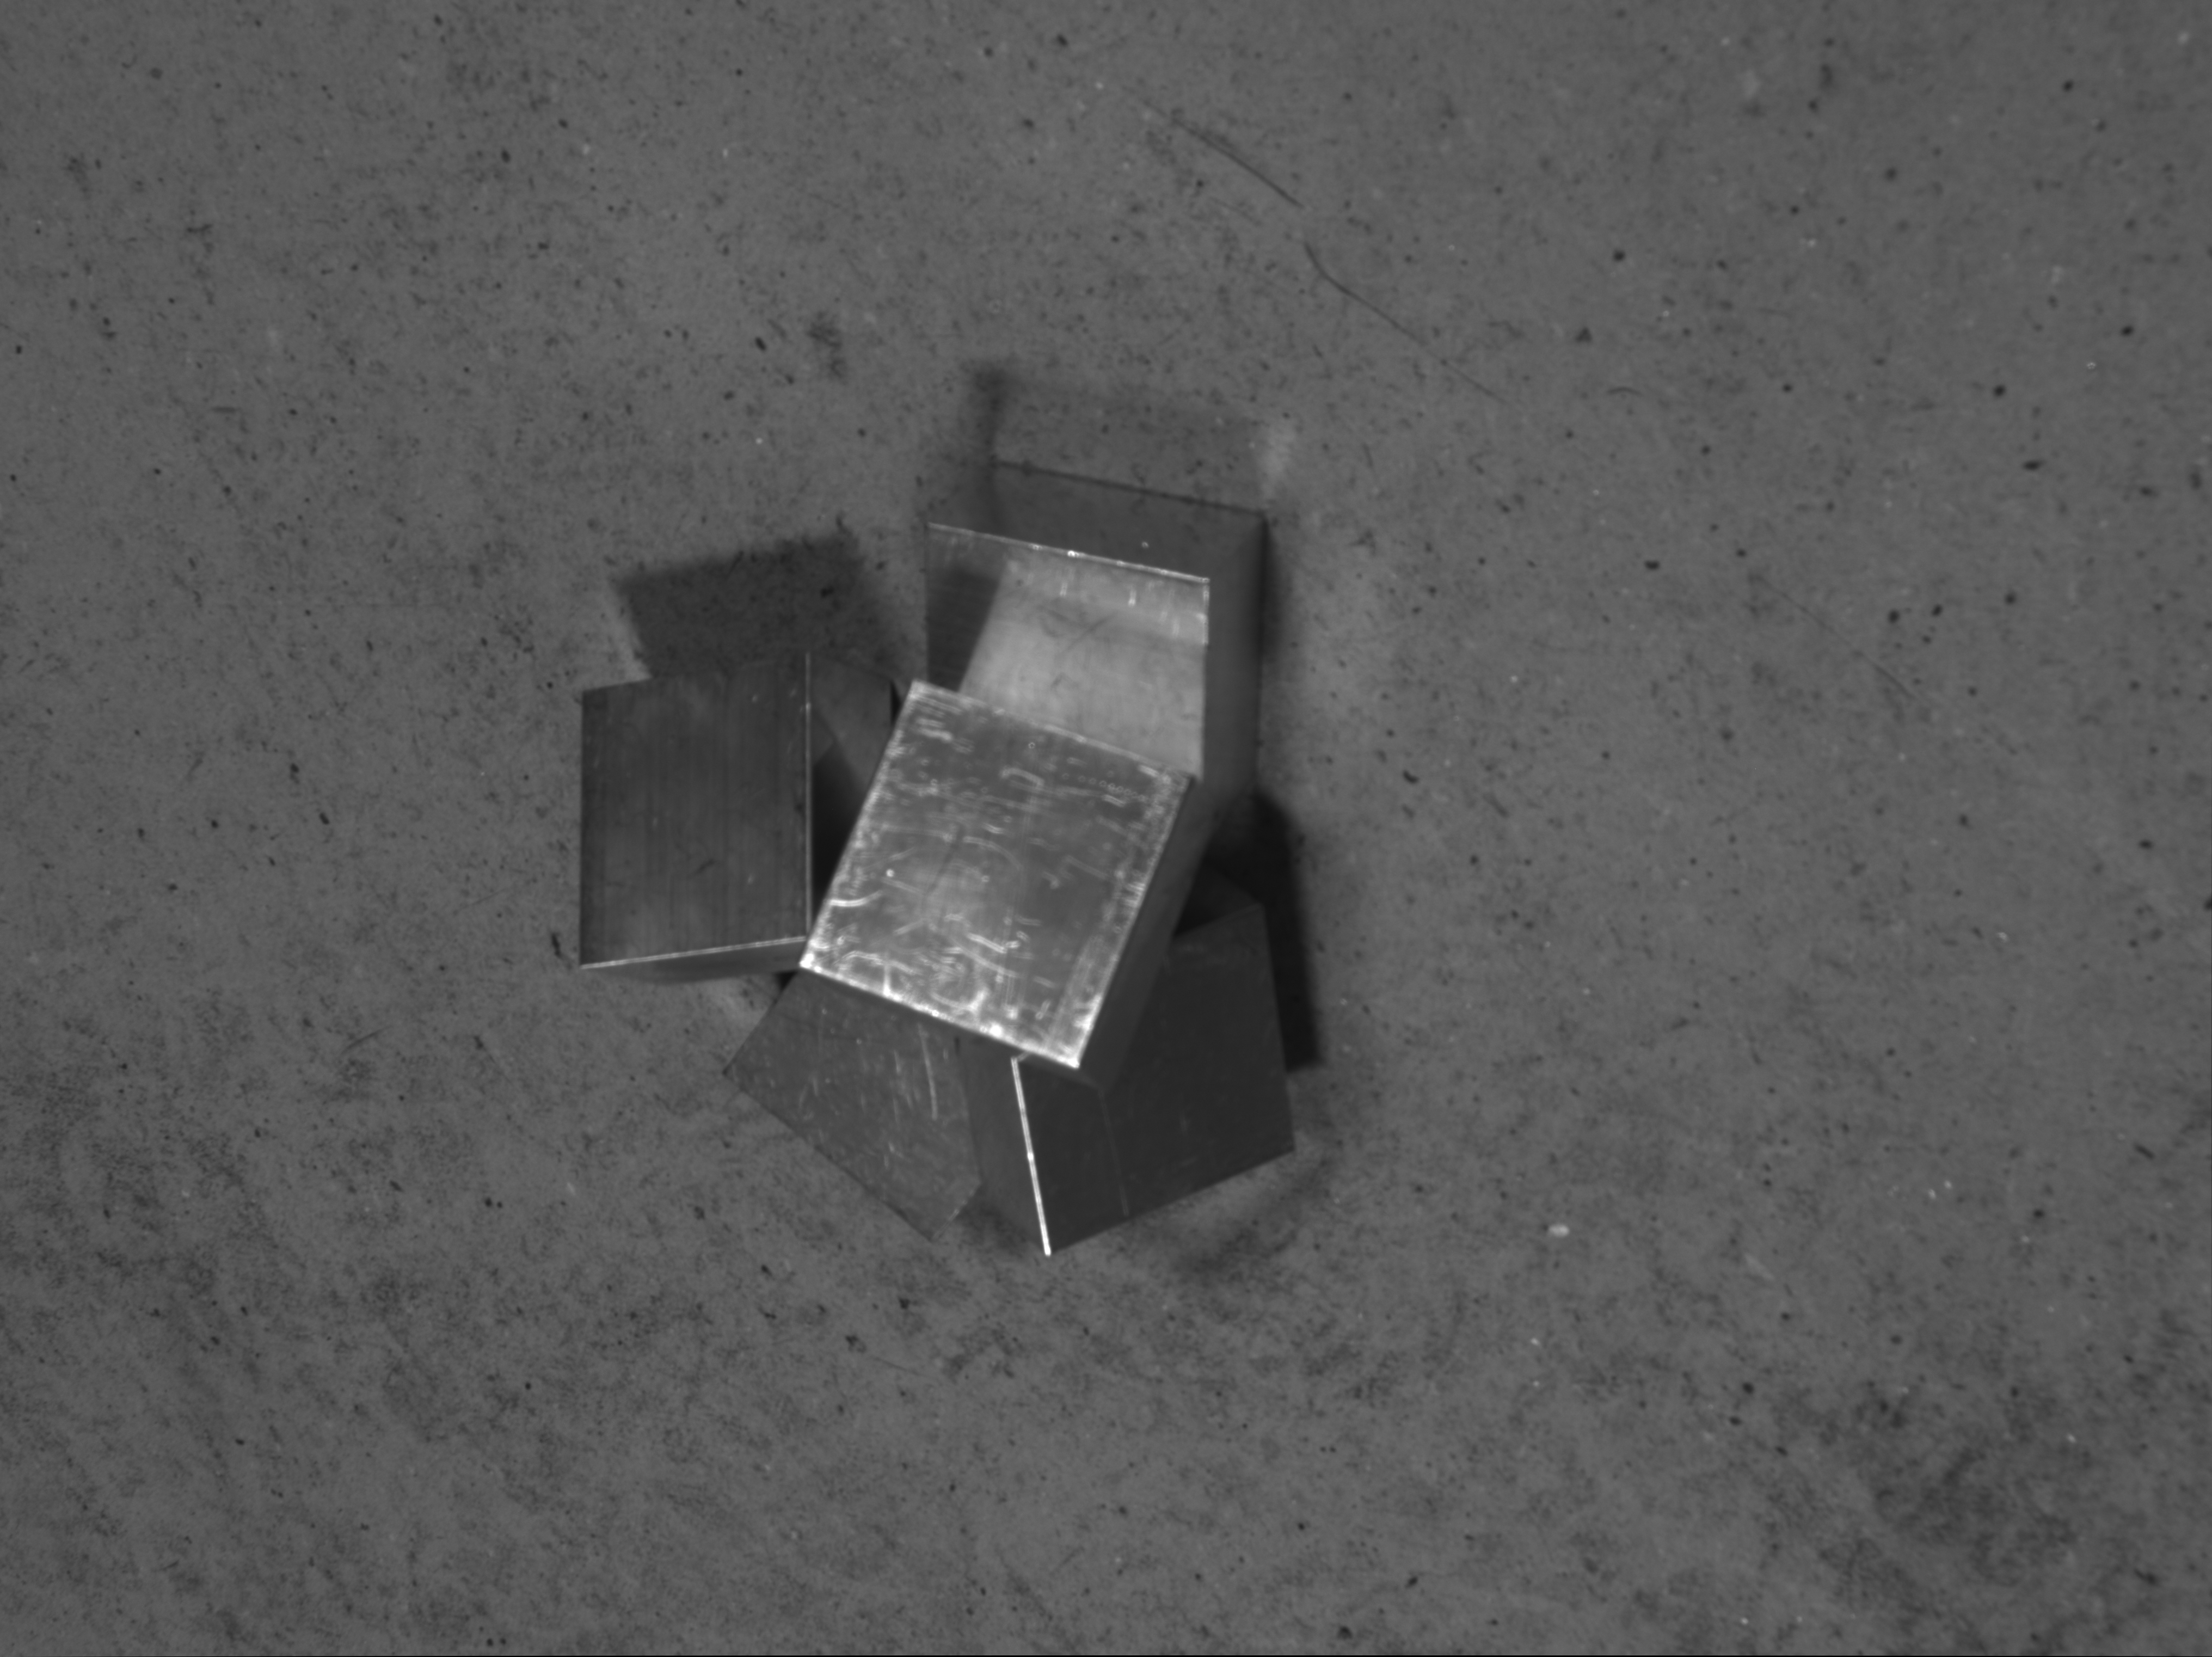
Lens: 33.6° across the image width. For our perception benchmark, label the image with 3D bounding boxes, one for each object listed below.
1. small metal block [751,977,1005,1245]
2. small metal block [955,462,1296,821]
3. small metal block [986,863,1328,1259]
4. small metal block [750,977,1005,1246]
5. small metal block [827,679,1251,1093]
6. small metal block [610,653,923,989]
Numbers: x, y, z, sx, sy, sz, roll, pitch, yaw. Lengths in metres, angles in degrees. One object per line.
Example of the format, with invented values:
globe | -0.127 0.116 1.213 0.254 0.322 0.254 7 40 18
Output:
small metal block | -0.029 0.040 0.670 0.050 0.025 0.050 39 128 1
small metal block | 0.003 -0.029 0.612 0.050 0.025 0.050 13 123 20
small metal block | 0.008 0.039 0.632 0.025 0.050 0.050 36 141 55
small metal block | -0.029 0.040 0.670 0.050 0.025 0.050 39 128 1
small metal block | -0.010 0.010 0.593 0.050 0.025 0.050 19 82 15
small metal block | -0.060 0.000 0.645 0.050 0.025 0.050 -8 77 30
